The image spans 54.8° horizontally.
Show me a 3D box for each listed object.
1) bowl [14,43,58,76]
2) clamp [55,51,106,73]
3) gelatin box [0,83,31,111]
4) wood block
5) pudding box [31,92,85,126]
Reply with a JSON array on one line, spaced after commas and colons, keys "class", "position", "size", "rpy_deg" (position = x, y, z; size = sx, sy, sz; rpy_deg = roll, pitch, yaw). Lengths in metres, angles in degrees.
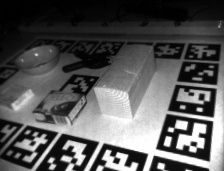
[{"class": "bowl", "position": [-0.265, -0.085, 0.777], "size": [0.161, 0.055, 0.161], "rpy_deg": [-8, 43, 8]}, {"class": "clamp", "position": [-0.101, -0.088, 0.750], "size": [0.164, 0.037, 0.122], "rpy_deg": [0, 41, 14]}, {"class": "gelatin box", "position": [-0.306, 0.032, 0.657], "size": [0.088, 0.030, 0.073], "rpy_deg": [13, 48, 29]}, {"class": "wood block", "position": [0.040, -0.023, 0.574], "size": [0.089, 0.092, 0.207], "rpy_deg": [9, 45, 25]}, {"class": "pudding box", "position": [-0.143, 0.057, 0.575], "size": [0.112, 0.039, 0.090], "rpy_deg": [4, 46, 24]}]
